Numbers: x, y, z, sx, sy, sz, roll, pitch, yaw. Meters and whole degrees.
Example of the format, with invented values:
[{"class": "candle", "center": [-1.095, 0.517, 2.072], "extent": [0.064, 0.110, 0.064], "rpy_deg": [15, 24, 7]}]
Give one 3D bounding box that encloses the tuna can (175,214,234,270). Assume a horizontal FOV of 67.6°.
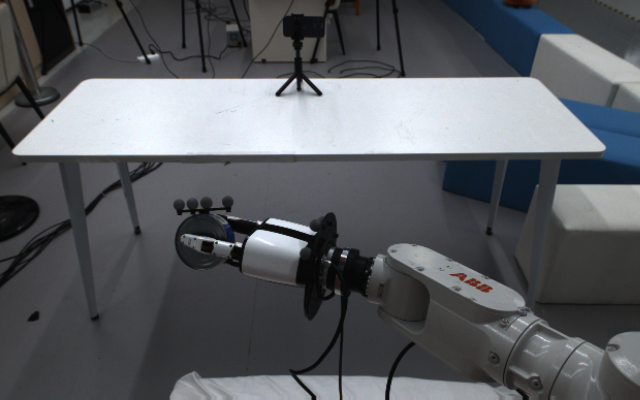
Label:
[{"class": "tuna can", "center": [-0.170, 0.066, 0.742], "extent": [0.085, 0.085, 0.034], "rpy_deg": [10, 2, 11]}]
